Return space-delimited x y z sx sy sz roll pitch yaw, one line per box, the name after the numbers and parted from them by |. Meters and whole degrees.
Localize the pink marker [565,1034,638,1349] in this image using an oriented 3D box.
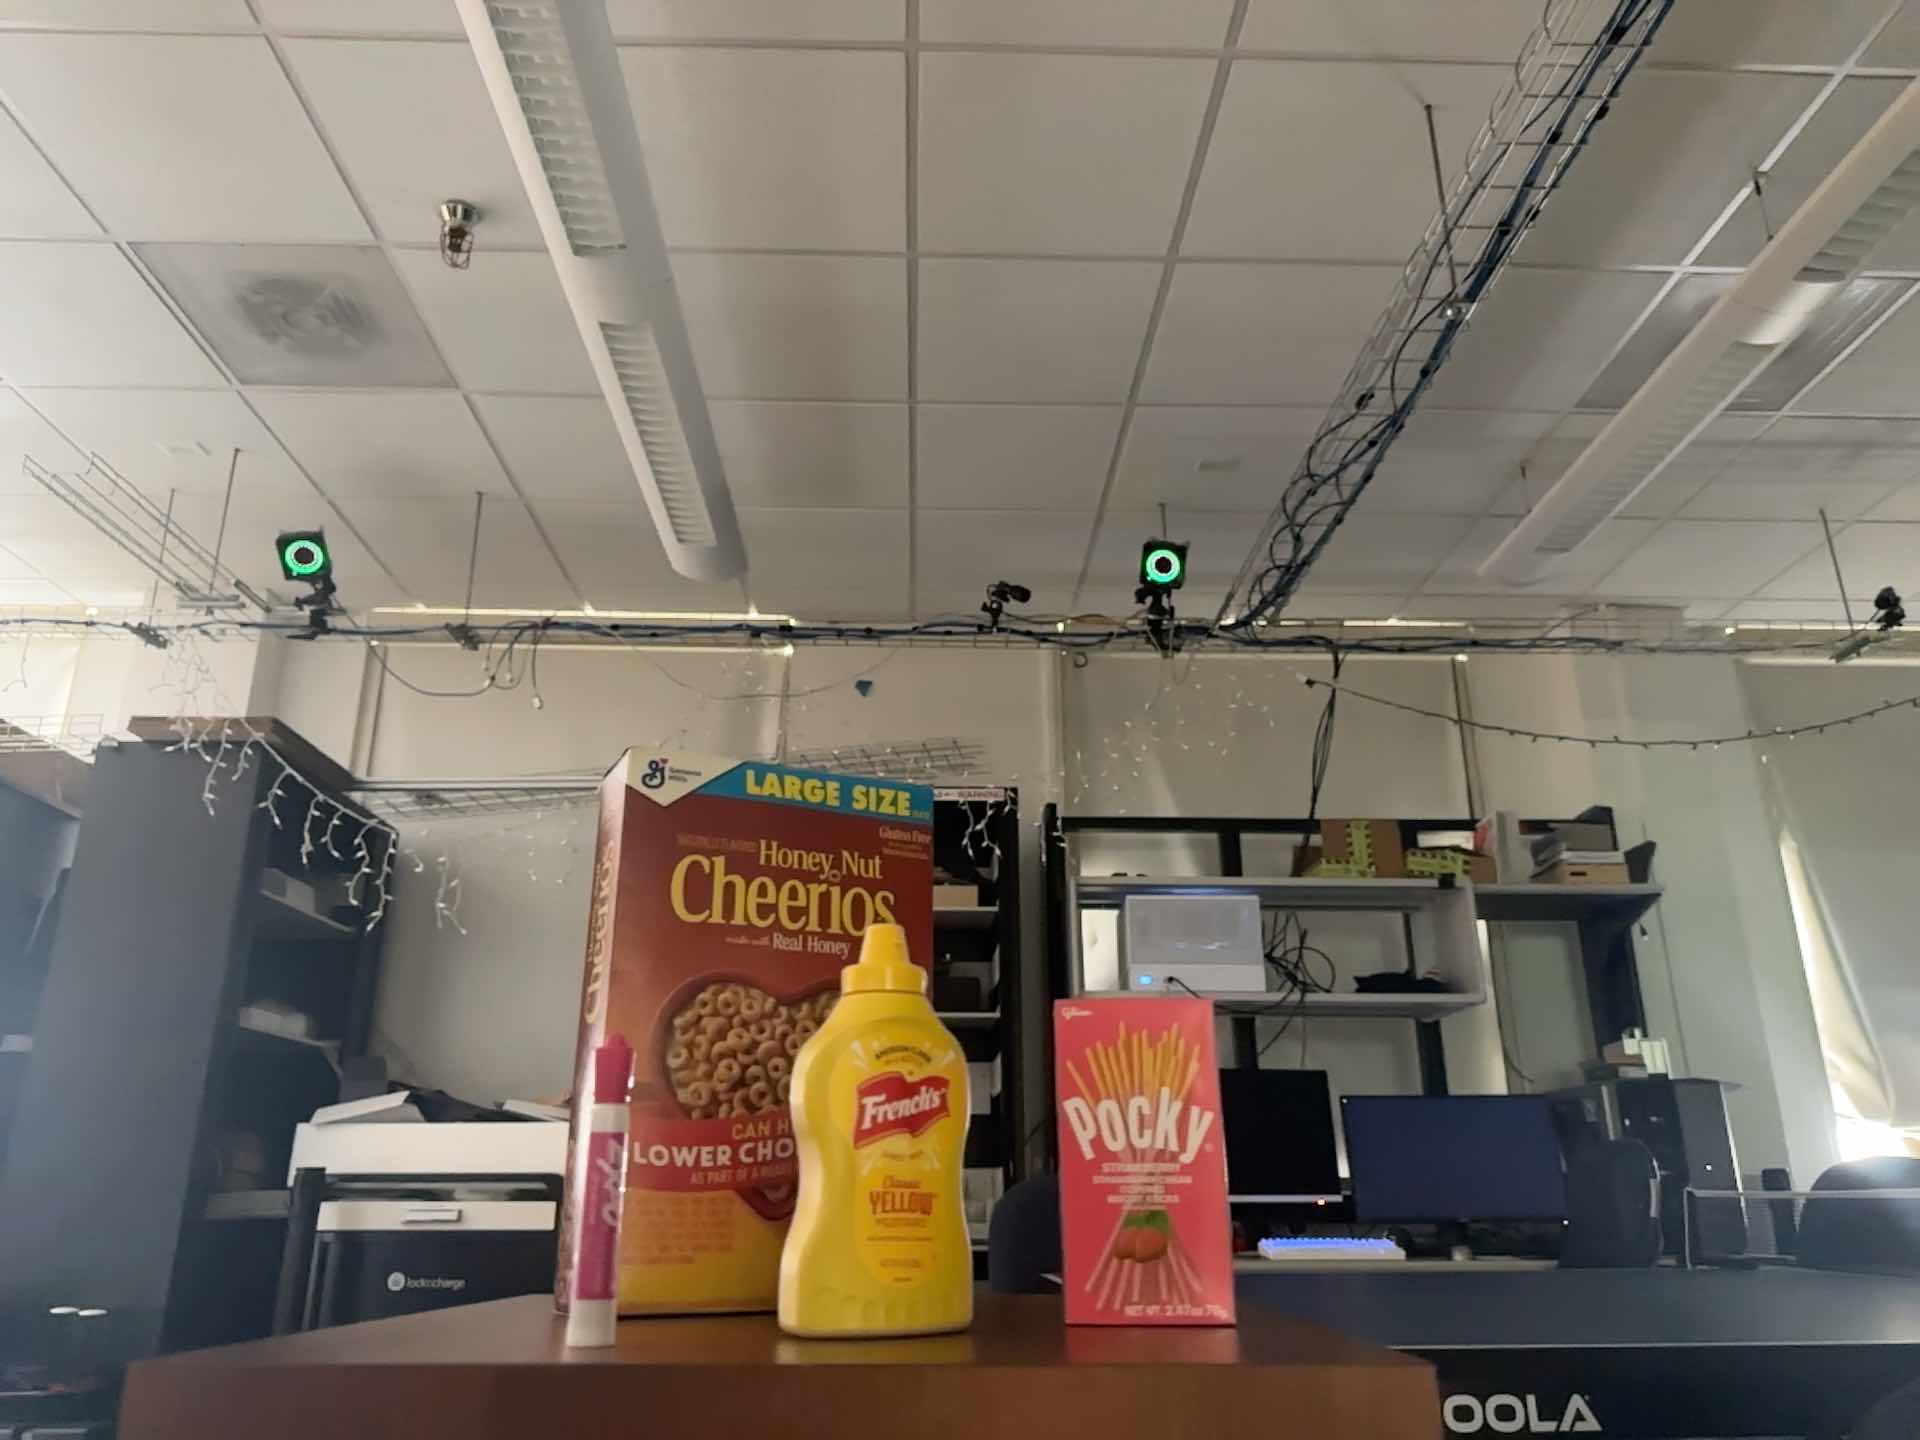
-0.146 0.191 0.555 0.020 0.121 0.020 0 -19 0 | pink marker

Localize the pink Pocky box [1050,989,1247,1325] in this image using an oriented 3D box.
0.090 0.211 0.663 0.084 0.154 0.029 0 -18 -3 | pink Pocky box

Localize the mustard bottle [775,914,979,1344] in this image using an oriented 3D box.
-0.038 0.181 0.617 0.092 0.184 0.054 7 -19 -25 | mustard bottle

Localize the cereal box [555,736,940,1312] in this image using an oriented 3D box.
-0.114 0.172 0.782 0.195 0.296 0.065 11 -21 -28 | cereal box
